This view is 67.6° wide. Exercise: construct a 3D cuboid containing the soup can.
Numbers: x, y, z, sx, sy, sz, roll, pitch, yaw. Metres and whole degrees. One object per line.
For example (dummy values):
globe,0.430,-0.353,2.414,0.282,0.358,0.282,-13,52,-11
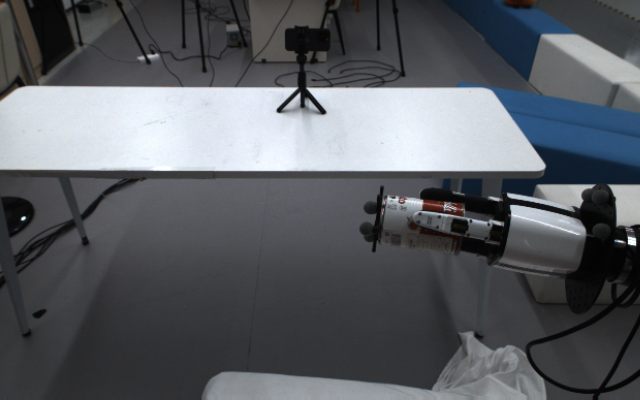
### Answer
soup can,0.133,0.030,0.627,0.101,0.067,0.067,6,35,10
